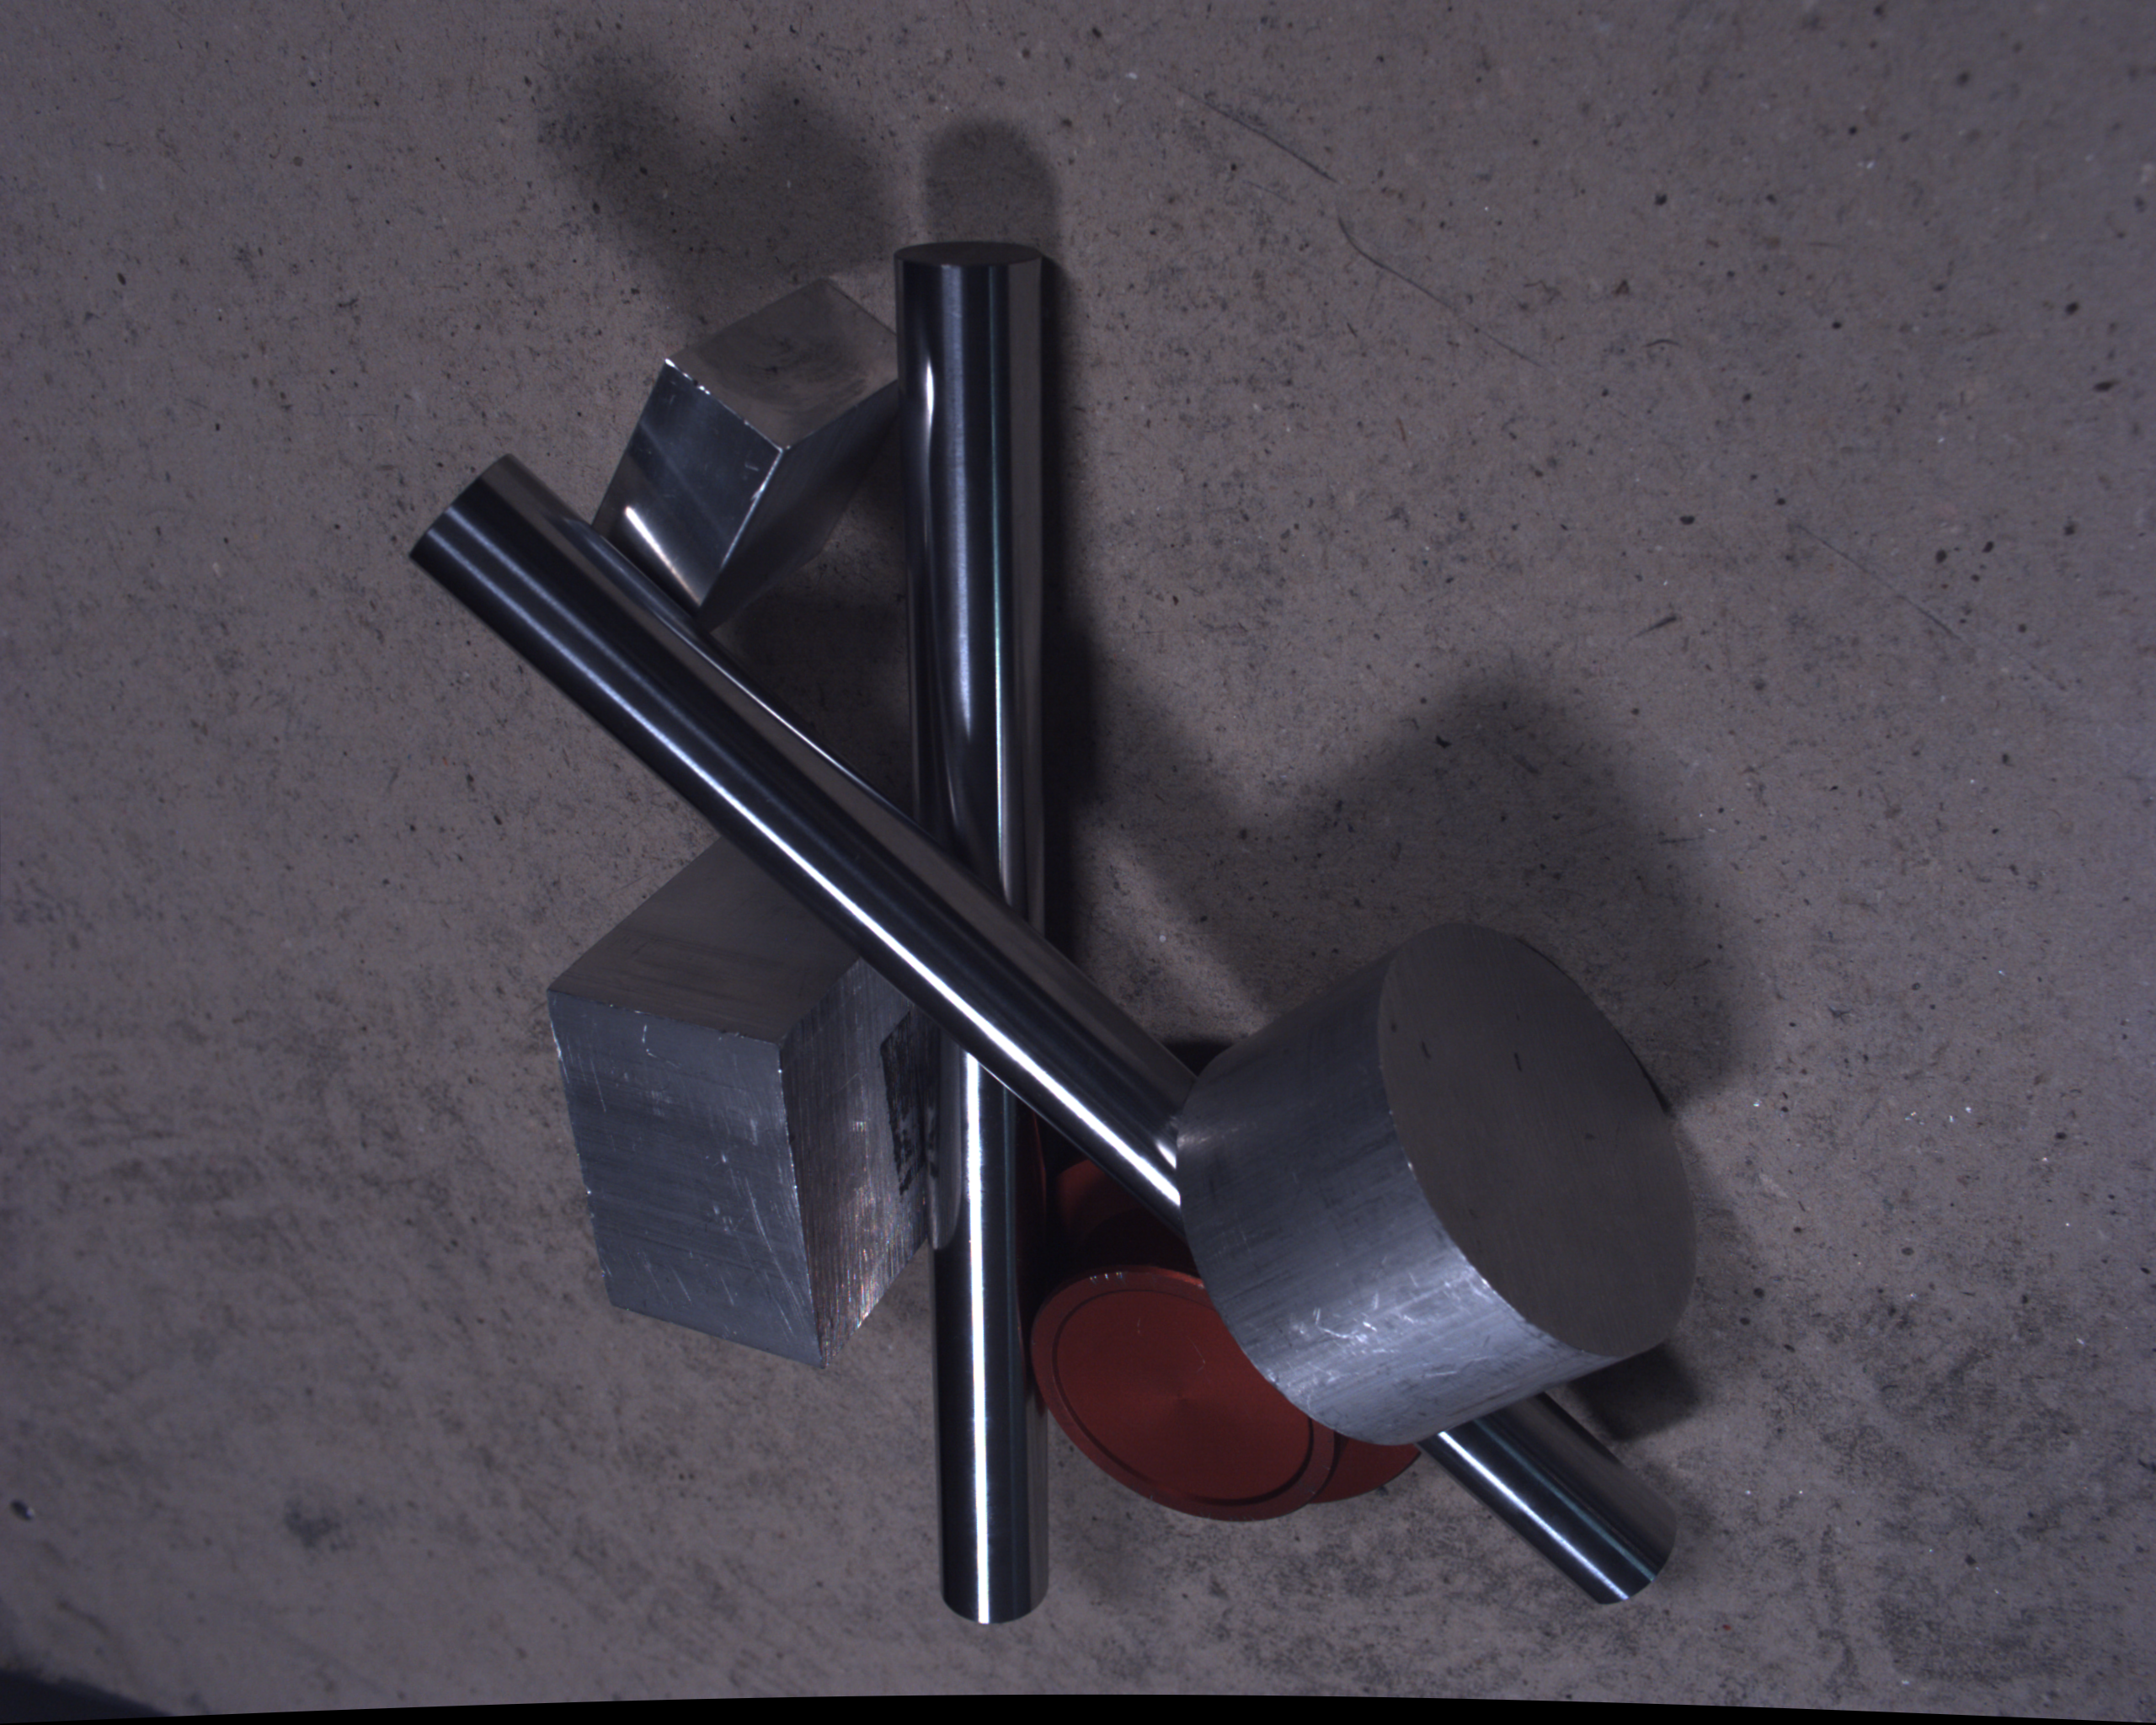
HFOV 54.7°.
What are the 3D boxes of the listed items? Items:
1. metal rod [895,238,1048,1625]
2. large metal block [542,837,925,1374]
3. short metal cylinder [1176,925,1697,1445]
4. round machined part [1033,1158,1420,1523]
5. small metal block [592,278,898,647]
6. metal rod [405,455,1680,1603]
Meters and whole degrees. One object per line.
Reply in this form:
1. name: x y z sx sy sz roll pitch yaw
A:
1. metal rod: -0.019 0.031 0.416 0.025 0.025 0.298 11 117 22
2. large metal block: -0.058 0.042 0.428 0.050 0.080 0.079 11 123 22
3. short metal cylinder: 0.065 0.058 0.374 0.080 0.080 0.050 49 129 -6
4. round machined part: 0.030 0.100 0.443 0.098 0.042 0.097 13 124 20
5. small metal block: -0.059 -0.072 0.377 0.025 0.050 0.050 39 129 2
6. metal rod: 0.003 0.039 0.385 0.300 0.025 0.025 43 130 -13
